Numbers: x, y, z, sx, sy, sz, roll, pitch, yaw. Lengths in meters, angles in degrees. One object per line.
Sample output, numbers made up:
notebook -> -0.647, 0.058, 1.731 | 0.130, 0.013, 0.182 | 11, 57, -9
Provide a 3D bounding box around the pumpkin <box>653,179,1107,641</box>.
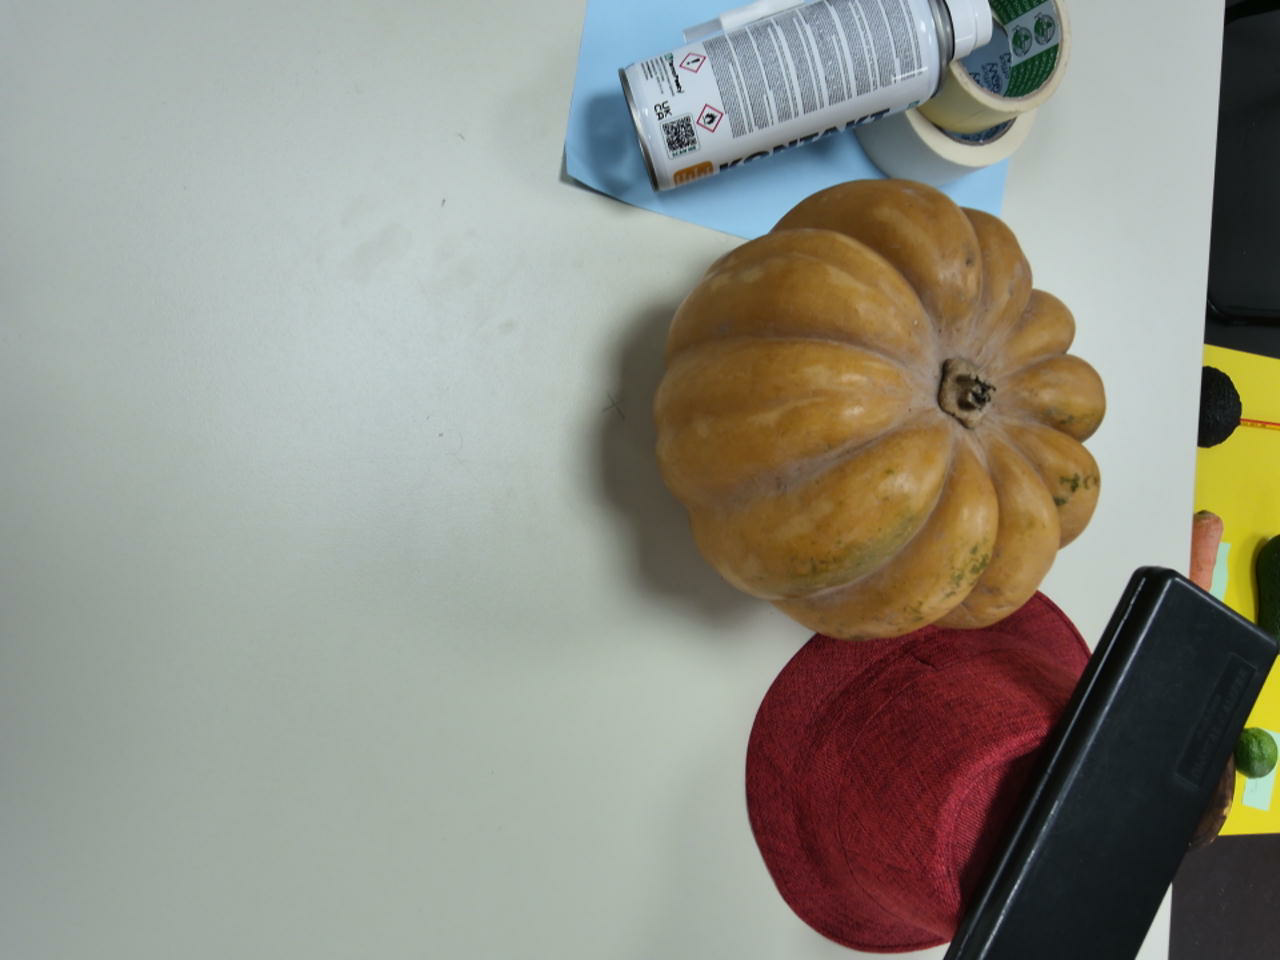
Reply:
pumpkin -> 0.115, -0.029, 0.509 | 0.230, 0.194, 0.230 | 0, 91, -22
